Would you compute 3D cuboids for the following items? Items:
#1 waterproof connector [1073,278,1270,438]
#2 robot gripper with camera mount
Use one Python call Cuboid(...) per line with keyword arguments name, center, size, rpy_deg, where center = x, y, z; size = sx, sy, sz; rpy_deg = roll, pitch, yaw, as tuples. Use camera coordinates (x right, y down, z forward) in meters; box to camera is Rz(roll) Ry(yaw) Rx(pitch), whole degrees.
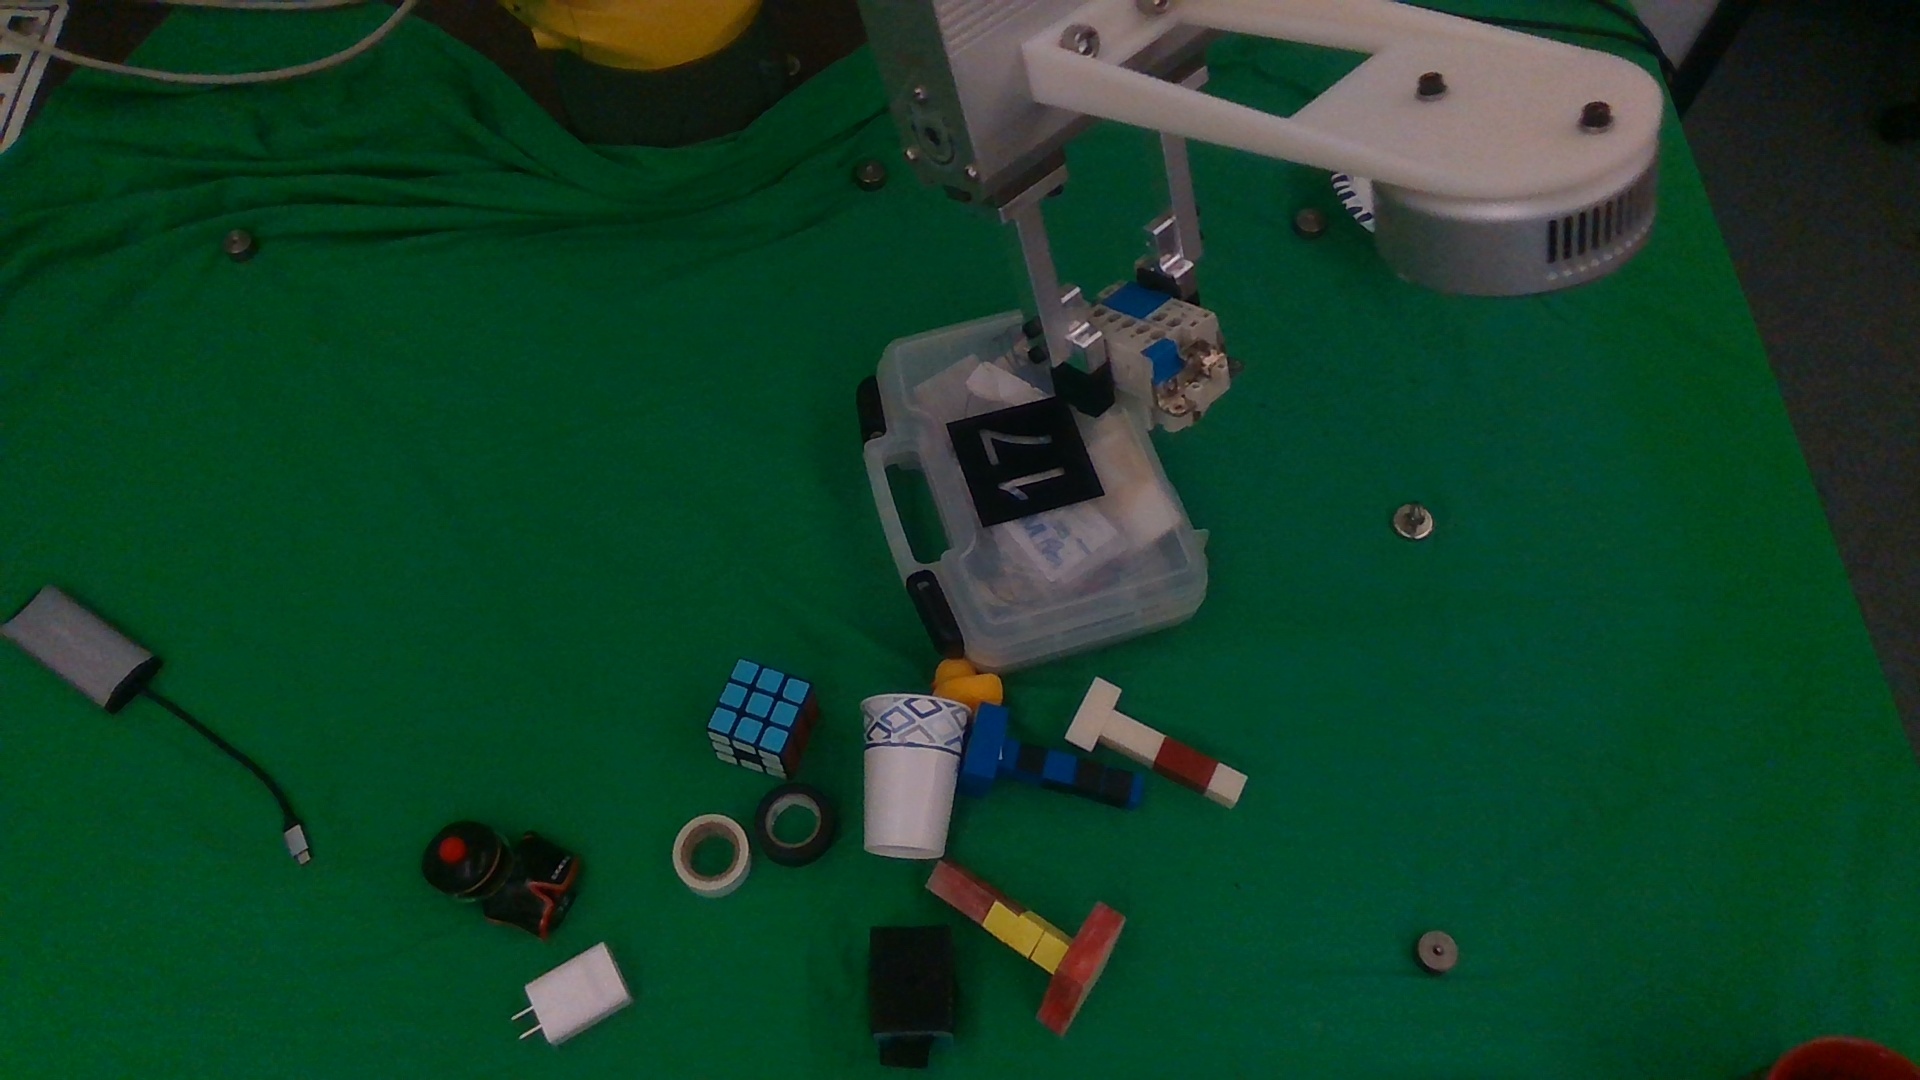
Cuboid(name="waterproof connector", center=(0.070, -0.060, 0.466), size=(0.035, 0.037, 0.065), rpy_deg=(-37, 44, -17))
Cuboid(name="robot gripper with camera mount", center=(0.107, -0.093, 0.382), size=(0.194, 0.158, 0.119), rpy_deg=(23, 59, 40))
